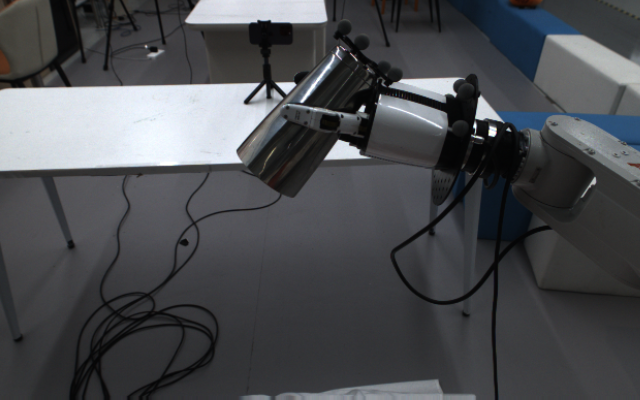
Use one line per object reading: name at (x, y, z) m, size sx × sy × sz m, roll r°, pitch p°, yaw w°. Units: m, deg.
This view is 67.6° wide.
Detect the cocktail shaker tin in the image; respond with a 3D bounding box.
cocktail shaker tin at (-0.010, -0.100, 0.578) m, size 0.093 × 0.170 × 0.093 m, roll 41°, pitch 12°, yaw -11°
